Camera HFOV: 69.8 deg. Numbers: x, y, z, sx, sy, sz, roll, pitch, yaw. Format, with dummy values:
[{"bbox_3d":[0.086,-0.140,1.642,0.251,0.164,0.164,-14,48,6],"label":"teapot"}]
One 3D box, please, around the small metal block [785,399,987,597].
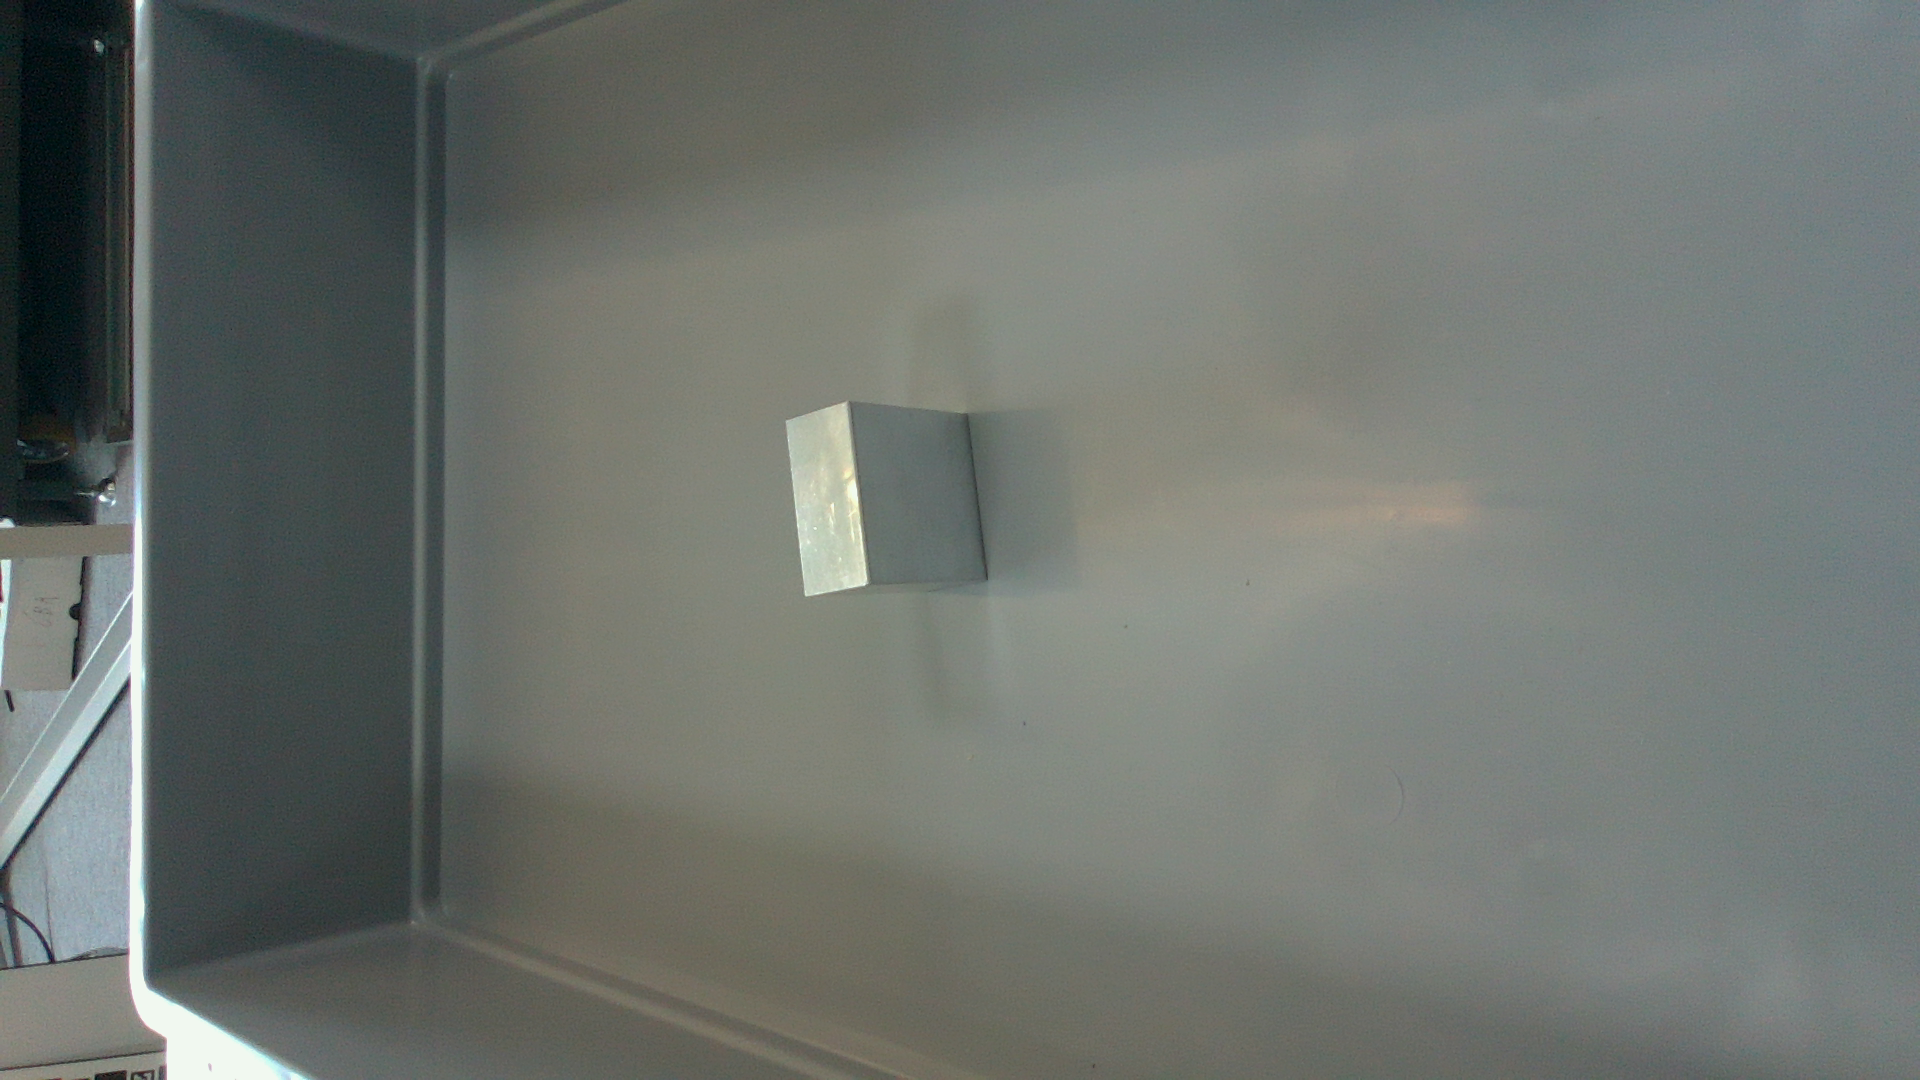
[{"bbox_3d":[-0.020,-0.011,0.392,0.025,0.050,0.050,-12,82,40],"label":"small metal block"}]
